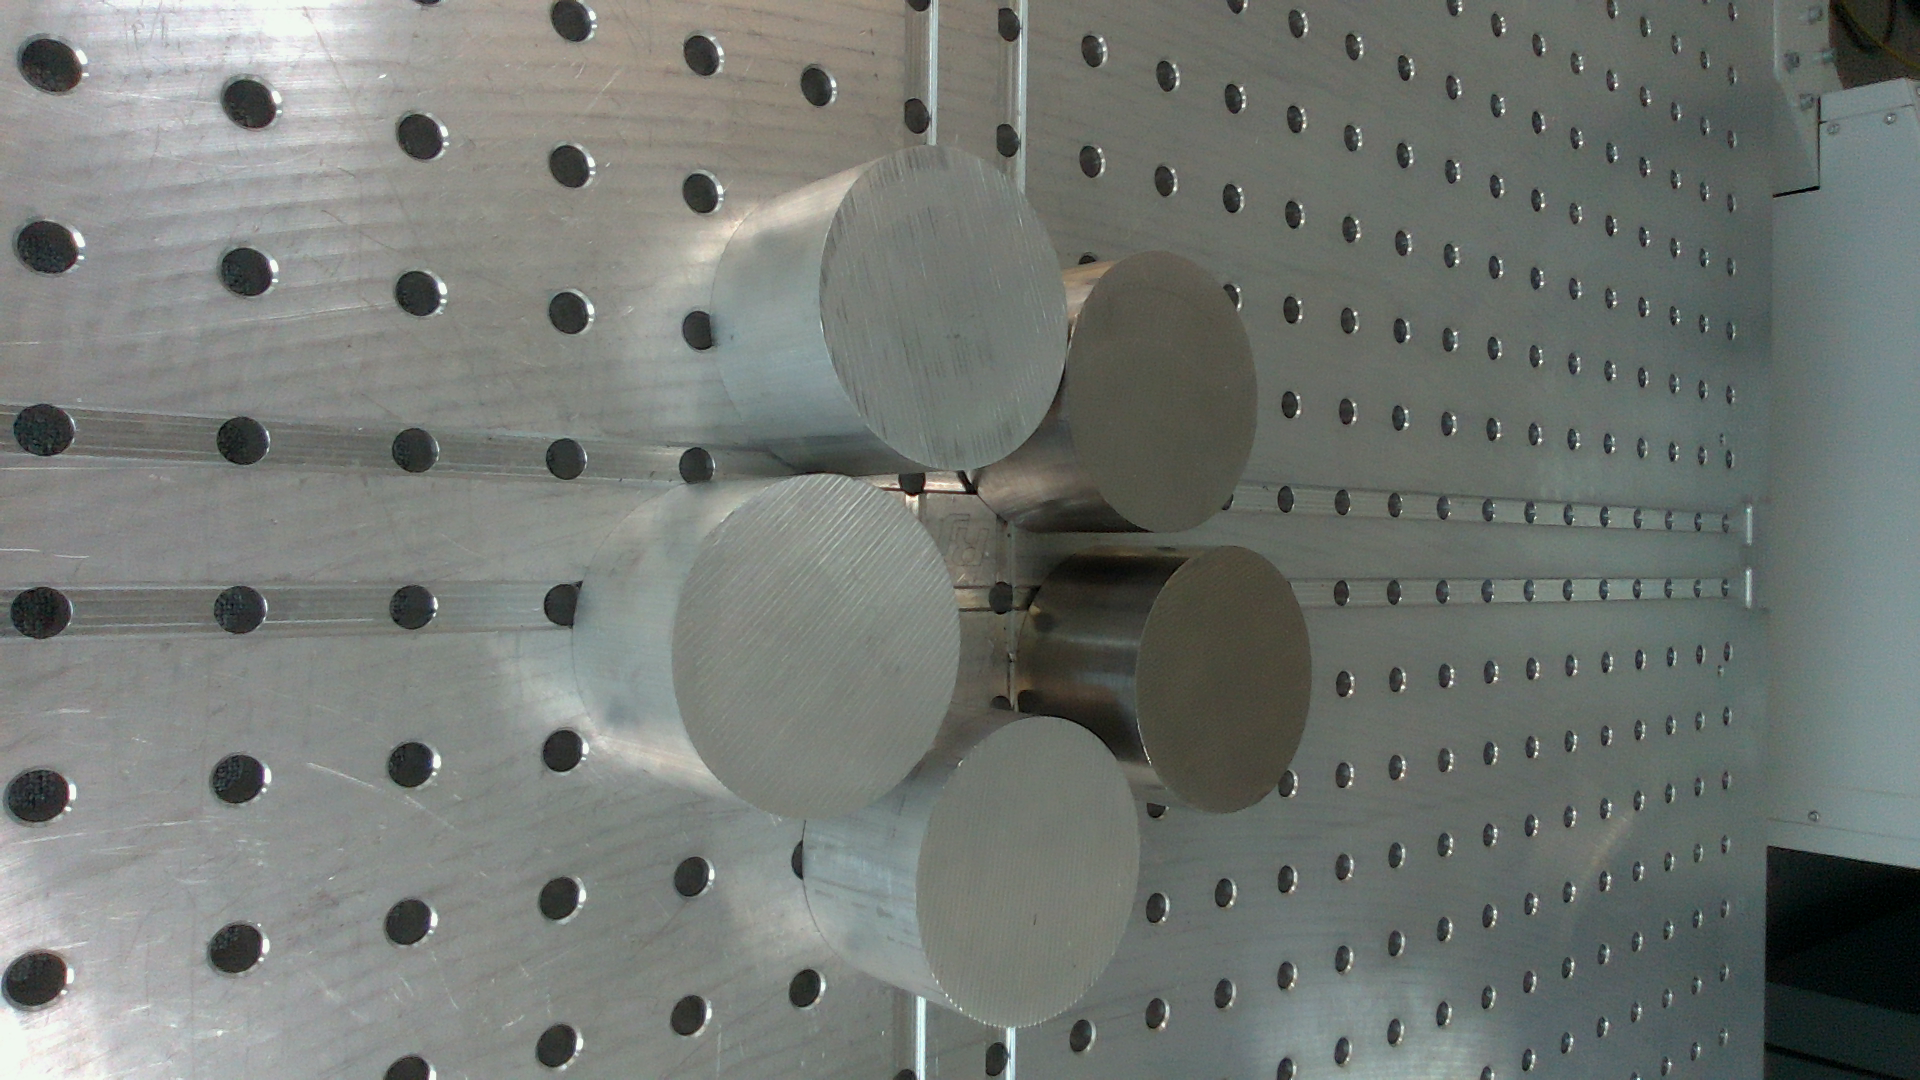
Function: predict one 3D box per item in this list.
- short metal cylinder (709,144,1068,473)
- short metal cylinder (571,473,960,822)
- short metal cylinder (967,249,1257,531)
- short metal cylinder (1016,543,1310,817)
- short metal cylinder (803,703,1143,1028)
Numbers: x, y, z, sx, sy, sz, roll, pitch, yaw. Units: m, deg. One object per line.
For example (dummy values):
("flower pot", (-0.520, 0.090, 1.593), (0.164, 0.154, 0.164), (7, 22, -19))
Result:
("short metal cylinder", (-0.018, -0.058, 0.360), (0.080, 0.050, 0.080), (0, 90, -40))
("short metal cylinder", (-0.047, 0.025, 0.337), (0.080, 0.050, 0.080), (0, 91, -40))
("short metal cylinder", (0.043, -0.043, 0.411), (0.080, 0.050, 0.080), (0, 90, -40))
("short metal cylinder", (0.064, 0.042, 0.428), (0.080, 0.050, 0.080), (-1, 92, -40))
("short metal cylinder", (0.004, 0.086, 0.378), (0.080, 0.050, 0.080), (0, 89, -39))
